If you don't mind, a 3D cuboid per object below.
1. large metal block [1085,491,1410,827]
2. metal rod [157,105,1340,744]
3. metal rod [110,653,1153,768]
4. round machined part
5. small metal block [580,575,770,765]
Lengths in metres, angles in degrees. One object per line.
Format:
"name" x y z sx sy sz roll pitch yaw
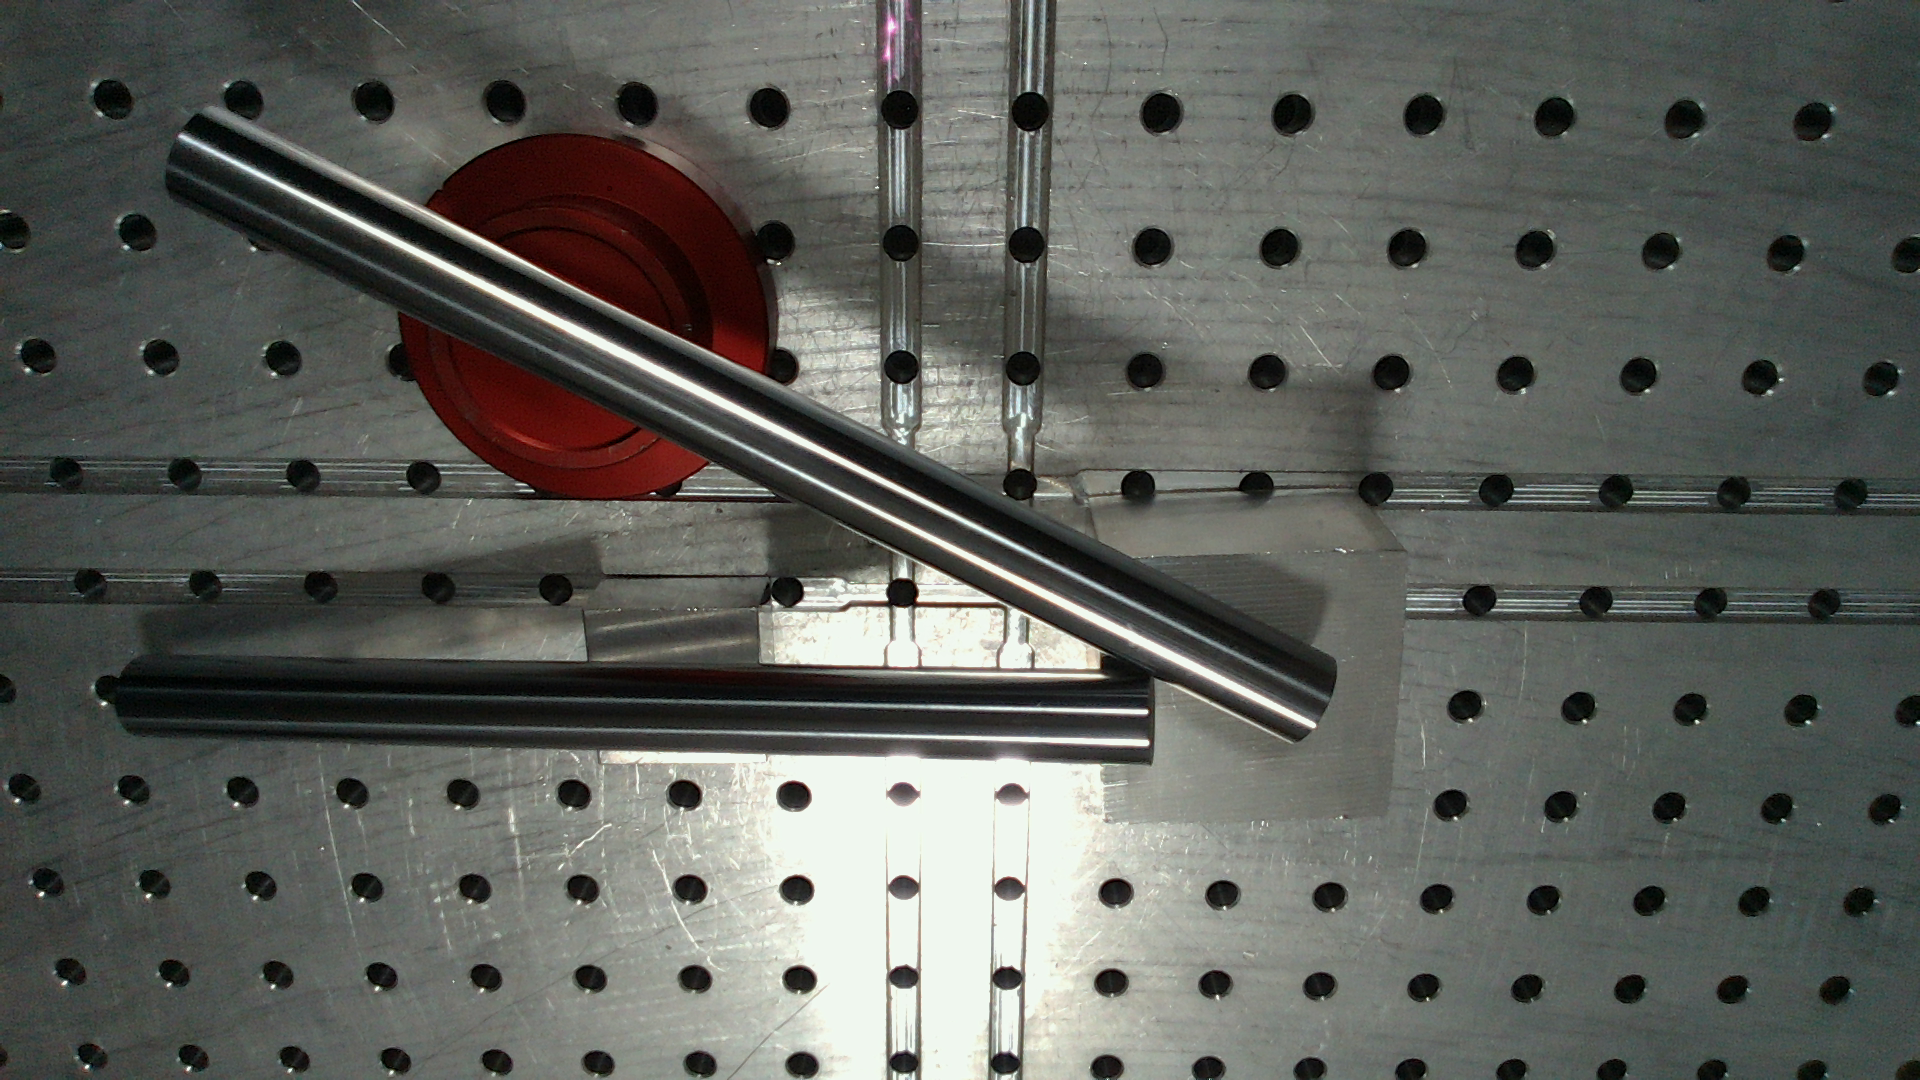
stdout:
"large metal block" 0.078 0.033 0.393 0.080 0.050 0.080 -2 110 1
"metal rod" -0.044 -0.024 0.336 0.300 0.025 0.025 26 108 -6
"metal rod" -0.098 0.046 0.384 0.299 0.025 0.025 0 111 11
"round machined part" -0.101 -0.057 0.366 0.098 0.042 0.098 0 110 0
"small metal block" -0.083 0.039 0.411 0.050 0.025 0.050 0 110 0
